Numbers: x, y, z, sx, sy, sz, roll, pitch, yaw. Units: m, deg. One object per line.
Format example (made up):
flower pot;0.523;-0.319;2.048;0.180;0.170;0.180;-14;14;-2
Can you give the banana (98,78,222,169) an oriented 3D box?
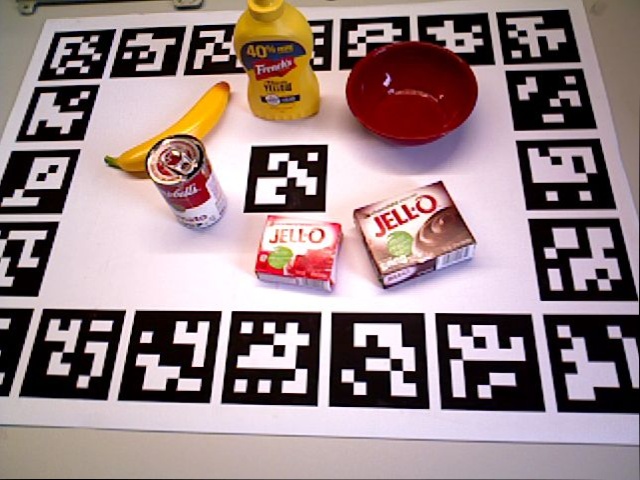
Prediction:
banana;-0.196;-0.149;0.712;0.195;0.039;0.074;-42;56;-15

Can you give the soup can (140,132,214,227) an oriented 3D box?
soup can;-0.163;-0.070;0.621;0.068;0.104;0.067;-1;60;2

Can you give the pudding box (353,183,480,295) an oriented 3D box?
pudding box;0.104;-0.001;0.603;0.113;0.039;0.089;-21;68;-5

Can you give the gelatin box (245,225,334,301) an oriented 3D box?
gelatin box;-0.033;0.025;0.609;0.089;0.030;0.072;7;67;10

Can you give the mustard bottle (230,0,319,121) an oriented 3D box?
mustard bottle;-0.054;-0.226;0.636;0.096;0.195;0.057;1;59;5

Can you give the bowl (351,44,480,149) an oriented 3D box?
bowl;0.120;-0.169;0.683;0.161;0.056;0.159;-4;62;5
